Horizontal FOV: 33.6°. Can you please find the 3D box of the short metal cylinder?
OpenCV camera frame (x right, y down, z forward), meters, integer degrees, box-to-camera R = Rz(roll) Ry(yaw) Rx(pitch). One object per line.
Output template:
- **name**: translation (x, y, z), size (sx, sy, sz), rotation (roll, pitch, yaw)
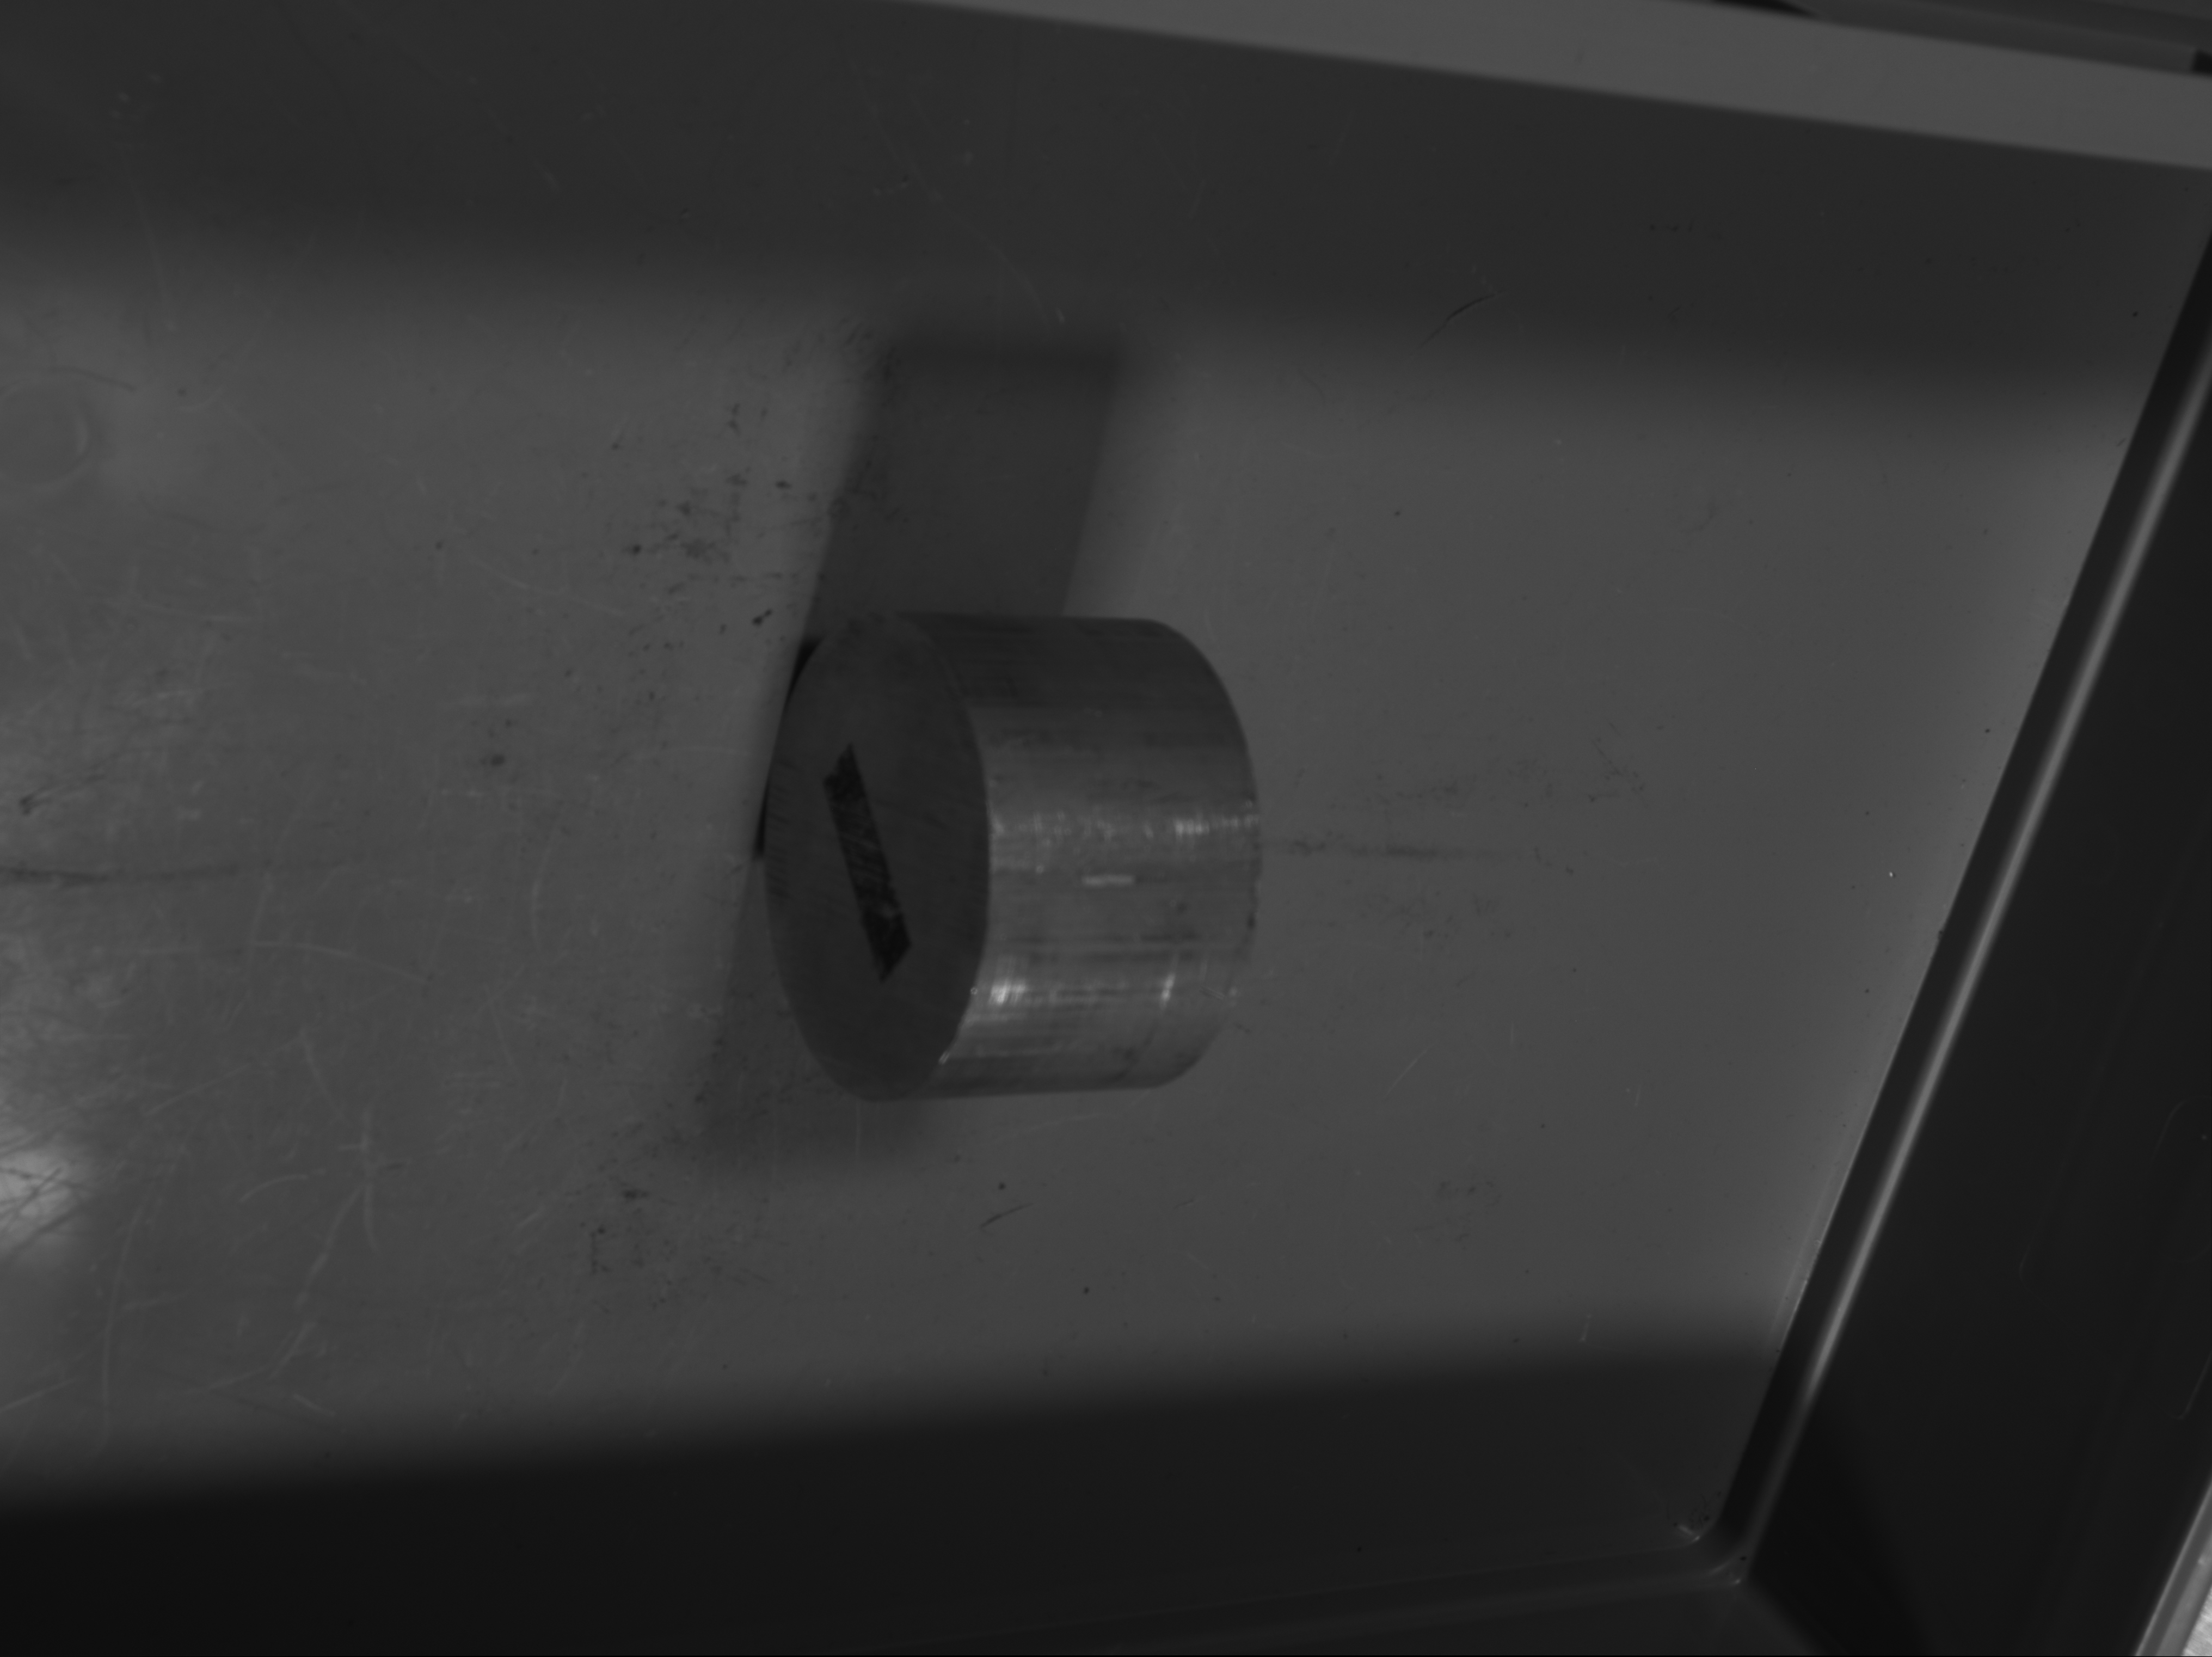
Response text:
- **short metal cylinder**: translation (-0.011, 0.005, 0.610), size (0.050, 0.080, 0.080), rotation (0, 118, -30)
